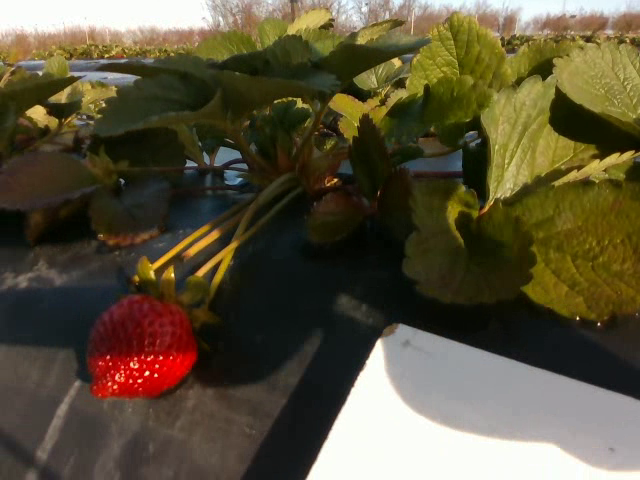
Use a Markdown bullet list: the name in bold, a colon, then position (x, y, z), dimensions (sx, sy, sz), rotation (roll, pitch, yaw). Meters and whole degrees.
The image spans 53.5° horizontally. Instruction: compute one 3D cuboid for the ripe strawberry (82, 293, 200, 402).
- **ripe strawberry**: position (-0.058, 0.036, 0.191), dimensions (0.040, 0.037, 0.044), rotation (-2, 37, 17)
